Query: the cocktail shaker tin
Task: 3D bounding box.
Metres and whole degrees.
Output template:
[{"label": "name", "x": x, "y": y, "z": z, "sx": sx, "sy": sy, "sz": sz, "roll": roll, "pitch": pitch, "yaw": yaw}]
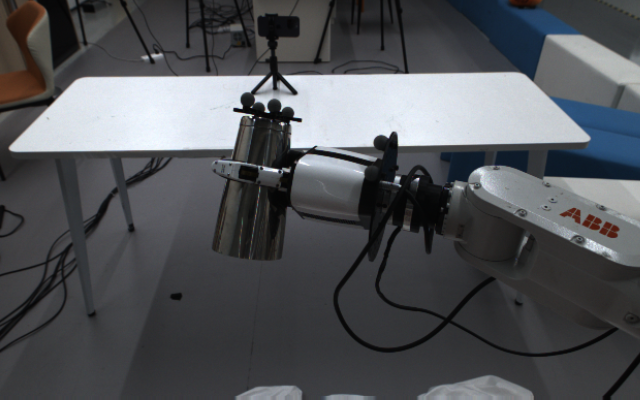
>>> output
[{"label": "cocktail shaker tin", "x": -0.080, "y": -0.016, "z": 0.620, "sx": 0.093, "sy": 0.170, "sz": 0.093, "roll": 9, "pitch": 3, "yaw": 0}]
